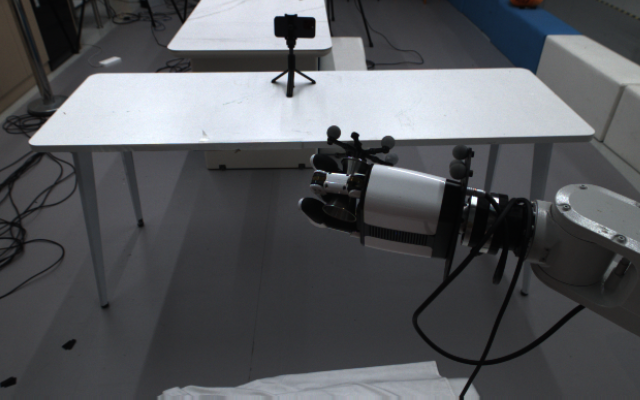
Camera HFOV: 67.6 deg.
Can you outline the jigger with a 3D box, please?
[{"bbox_3d":[0.037,-0.013,0.586,0.043,0.043,0.071,13,70,16],"label":"jigger"}]
